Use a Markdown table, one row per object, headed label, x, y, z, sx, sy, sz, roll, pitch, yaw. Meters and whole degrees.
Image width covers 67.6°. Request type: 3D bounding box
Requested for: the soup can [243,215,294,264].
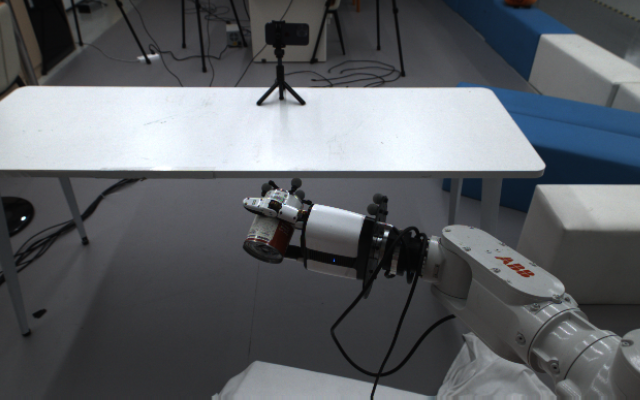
| label | x | y | z | sx | sy | sz | roll | pitch | yaw |
| --- | --- | --- | --- | --- | --- | --- | --- | --- | --- |
| soup can | -0.073 | 0.040 | 0.770 | 0.067 | 0.067 | 0.101 | 12 | 59 | 14 |
